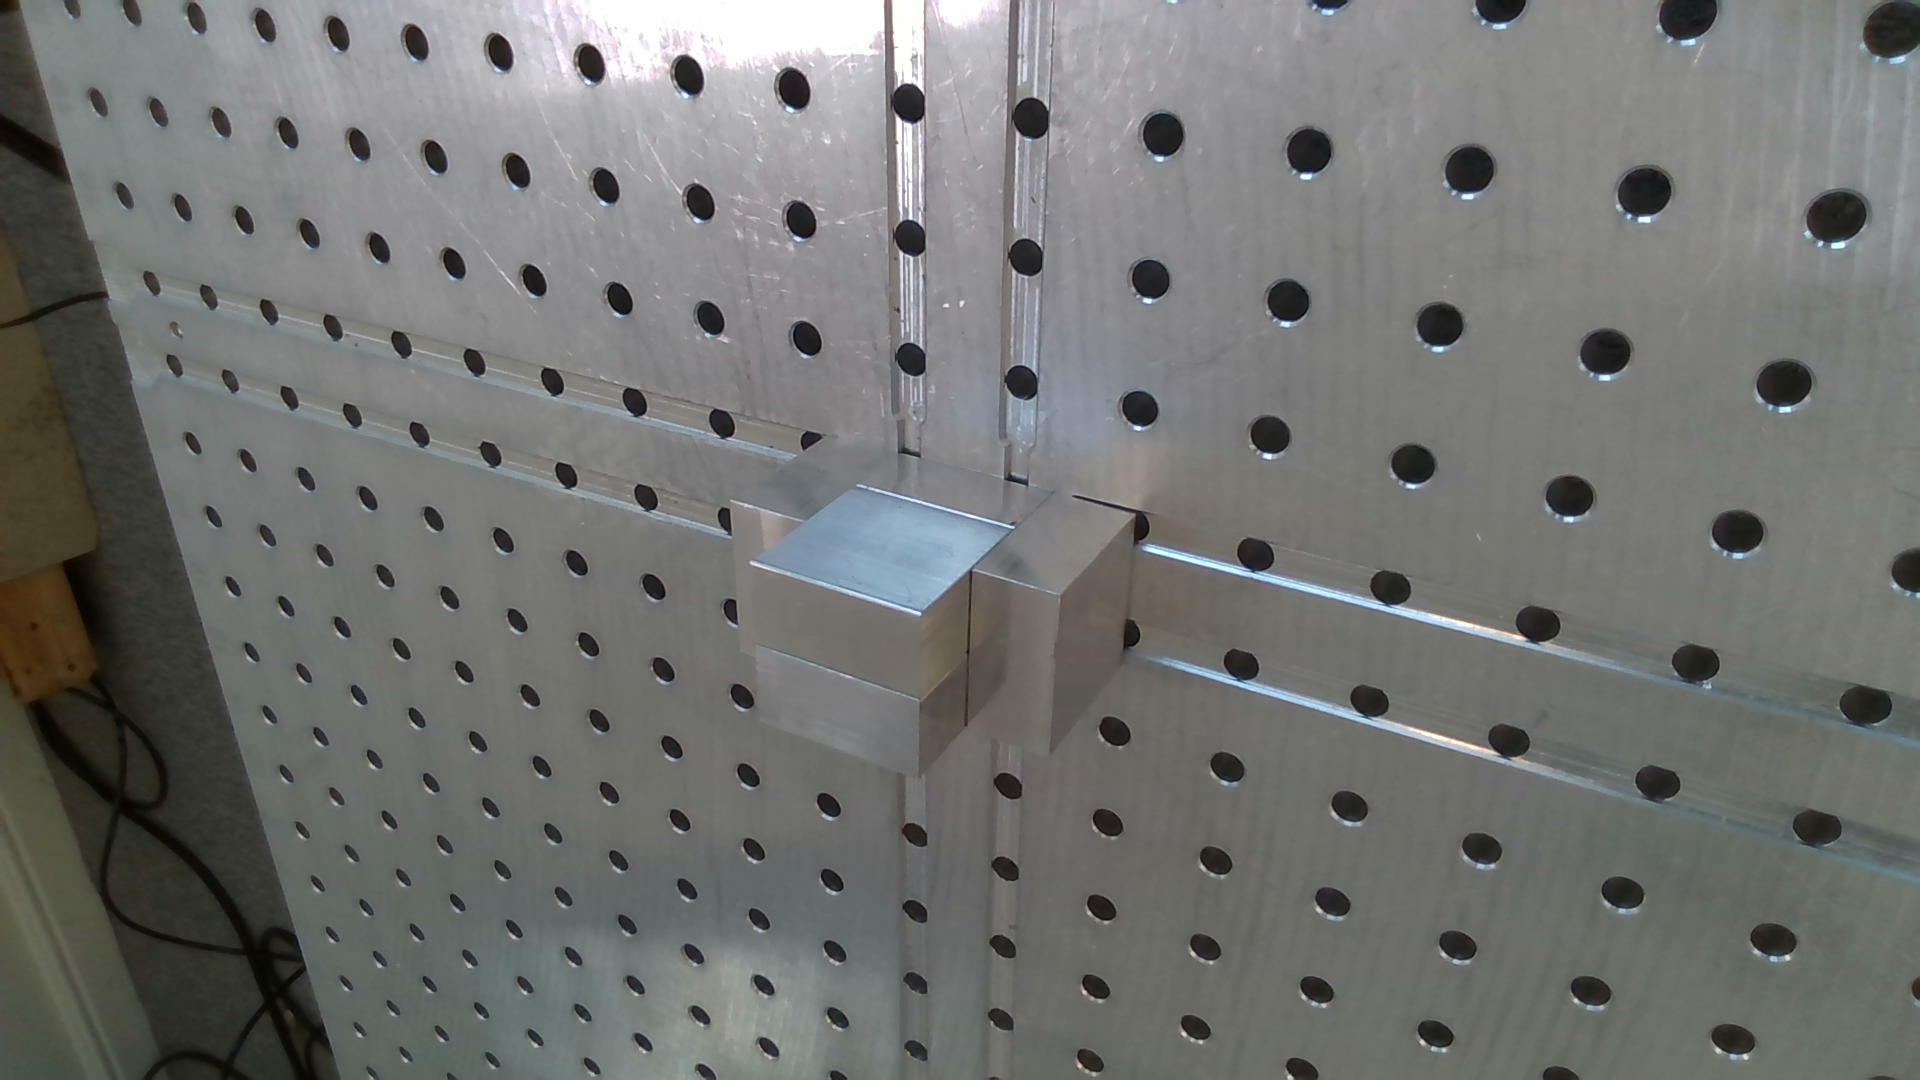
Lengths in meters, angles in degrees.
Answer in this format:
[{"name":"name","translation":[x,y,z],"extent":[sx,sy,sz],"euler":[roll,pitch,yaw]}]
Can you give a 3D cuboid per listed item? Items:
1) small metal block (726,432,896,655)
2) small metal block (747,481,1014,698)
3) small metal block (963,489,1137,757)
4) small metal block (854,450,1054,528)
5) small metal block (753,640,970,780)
[{"name":"small metal block","translation":[-0.041,0.003,0.402],"extent":[0.025,0.050,0.050],"euler":[16,122,24]},{"name":"small metal block","translation":[-0.020,0.011,0.361],"extent":[0.050,0.050,0.025],"euler":[16,122,24]},{"name":"small metal block","translation":[0.024,0.021,0.371],"extent":[0.025,0.050,0.050],"euler":[16,122,24]},{"name":"small metal block","translation":[-0.002,0.006,0.396],"extent":[0.050,0.025,0.050],"euler":[16,121,24]},{"name":"small metal block","translation":[-0.020,0.034,0.374],"extent":[0.050,0.050,0.025],"euler":[16,121,24]}]
